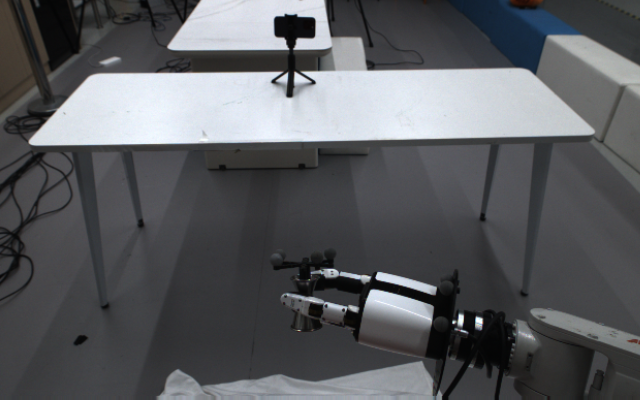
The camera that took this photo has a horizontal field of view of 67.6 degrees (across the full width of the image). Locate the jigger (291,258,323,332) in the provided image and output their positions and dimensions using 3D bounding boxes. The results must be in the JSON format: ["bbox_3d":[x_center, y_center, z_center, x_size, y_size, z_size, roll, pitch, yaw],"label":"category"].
[{"bbox_3d":[-0.019,0.136,0.648,0.043,0.071,0.043,-2,3,0],"label":"jigger"}]
